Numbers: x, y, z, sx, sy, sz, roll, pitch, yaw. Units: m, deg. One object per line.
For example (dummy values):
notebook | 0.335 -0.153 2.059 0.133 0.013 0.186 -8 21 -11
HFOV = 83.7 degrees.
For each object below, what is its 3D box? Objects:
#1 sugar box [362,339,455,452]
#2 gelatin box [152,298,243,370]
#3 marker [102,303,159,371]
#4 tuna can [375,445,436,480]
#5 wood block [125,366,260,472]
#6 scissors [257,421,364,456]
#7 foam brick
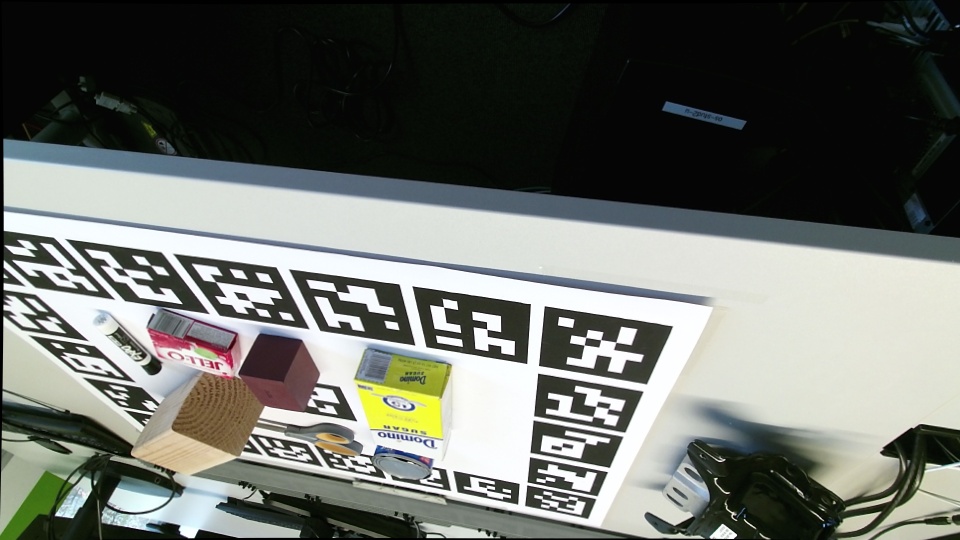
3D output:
sugar box | -0.080 0.152 0.625 0.093 0.045 0.176 11 139 4
gelatin box | -0.322 0.076 0.616 0.090 0.030 0.073 20 138 -7
marker | -0.428 0.086 0.662 0.020 0.019 0.121 8 136 6
tuna can | -0.104 0.261 0.755 0.086 0.033 0.086 7 138 7
wood block | -0.395 0.204 0.737 0.090 0.090 0.206 37 134 -25
scissors | -0.273 0.237 0.791 0.203 0.016 0.088 11 138 0
foam brick | -0.222 0.105 0.600 0.053 0.051 0.078 8 138 6
